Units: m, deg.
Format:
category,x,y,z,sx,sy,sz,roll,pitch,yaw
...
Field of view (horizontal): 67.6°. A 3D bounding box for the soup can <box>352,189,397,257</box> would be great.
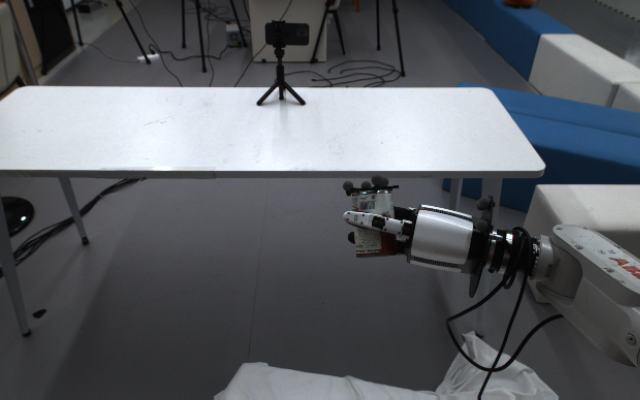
category,x,y,z,sx,sy,sz,roll,pitch,yaw
soup can,0.088,0.039,0.771,0.067,0.101,0.067,-5,-5,0
